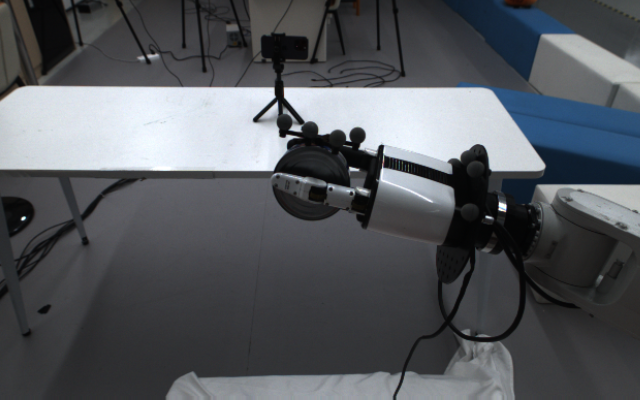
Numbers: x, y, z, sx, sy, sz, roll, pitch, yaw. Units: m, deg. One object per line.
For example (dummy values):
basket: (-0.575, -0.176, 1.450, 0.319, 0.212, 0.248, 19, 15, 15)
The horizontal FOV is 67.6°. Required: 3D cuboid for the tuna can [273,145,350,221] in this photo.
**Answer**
tuna can: (-0.007, -0.023, 0.540, 0.085, 0.085, 0.034, 5, 18, 4)
